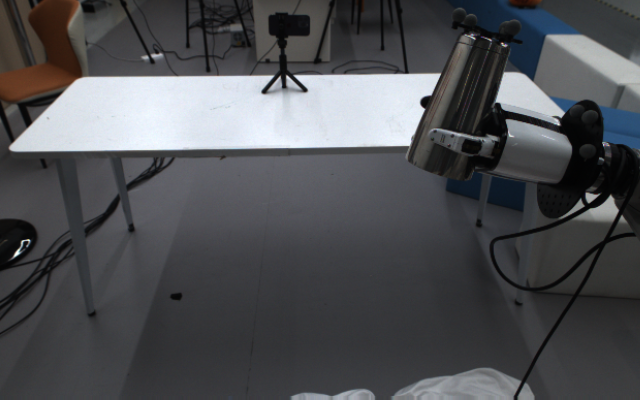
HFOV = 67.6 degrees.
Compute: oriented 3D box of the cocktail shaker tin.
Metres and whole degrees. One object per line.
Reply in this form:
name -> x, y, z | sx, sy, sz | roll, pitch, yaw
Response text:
cocktail shaker tin -> 0.183, -0.122, 0.629 | 0.093, 0.170, 0.093 | 14, 20, -5
